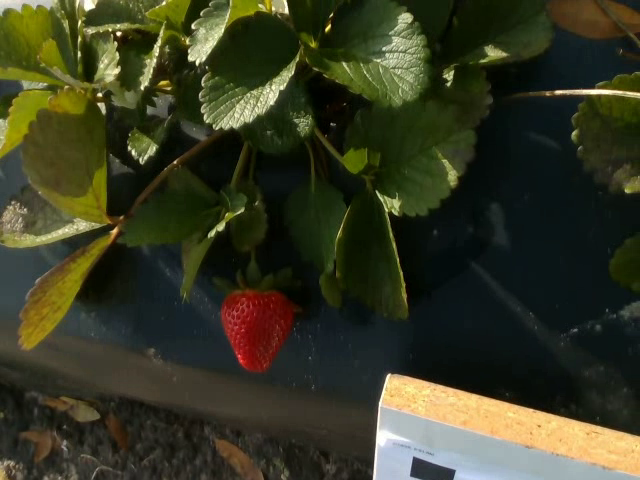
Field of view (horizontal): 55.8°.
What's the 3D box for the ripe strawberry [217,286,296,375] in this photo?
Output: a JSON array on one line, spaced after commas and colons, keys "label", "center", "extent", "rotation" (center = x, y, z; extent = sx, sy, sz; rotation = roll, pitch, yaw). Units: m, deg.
[{"label": "ripe strawberry", "center": [-0.029, 0.042, 0.275], "extent": [0.041, 0.047, 0.041], "rotation": [-5, -18, 42]}]
